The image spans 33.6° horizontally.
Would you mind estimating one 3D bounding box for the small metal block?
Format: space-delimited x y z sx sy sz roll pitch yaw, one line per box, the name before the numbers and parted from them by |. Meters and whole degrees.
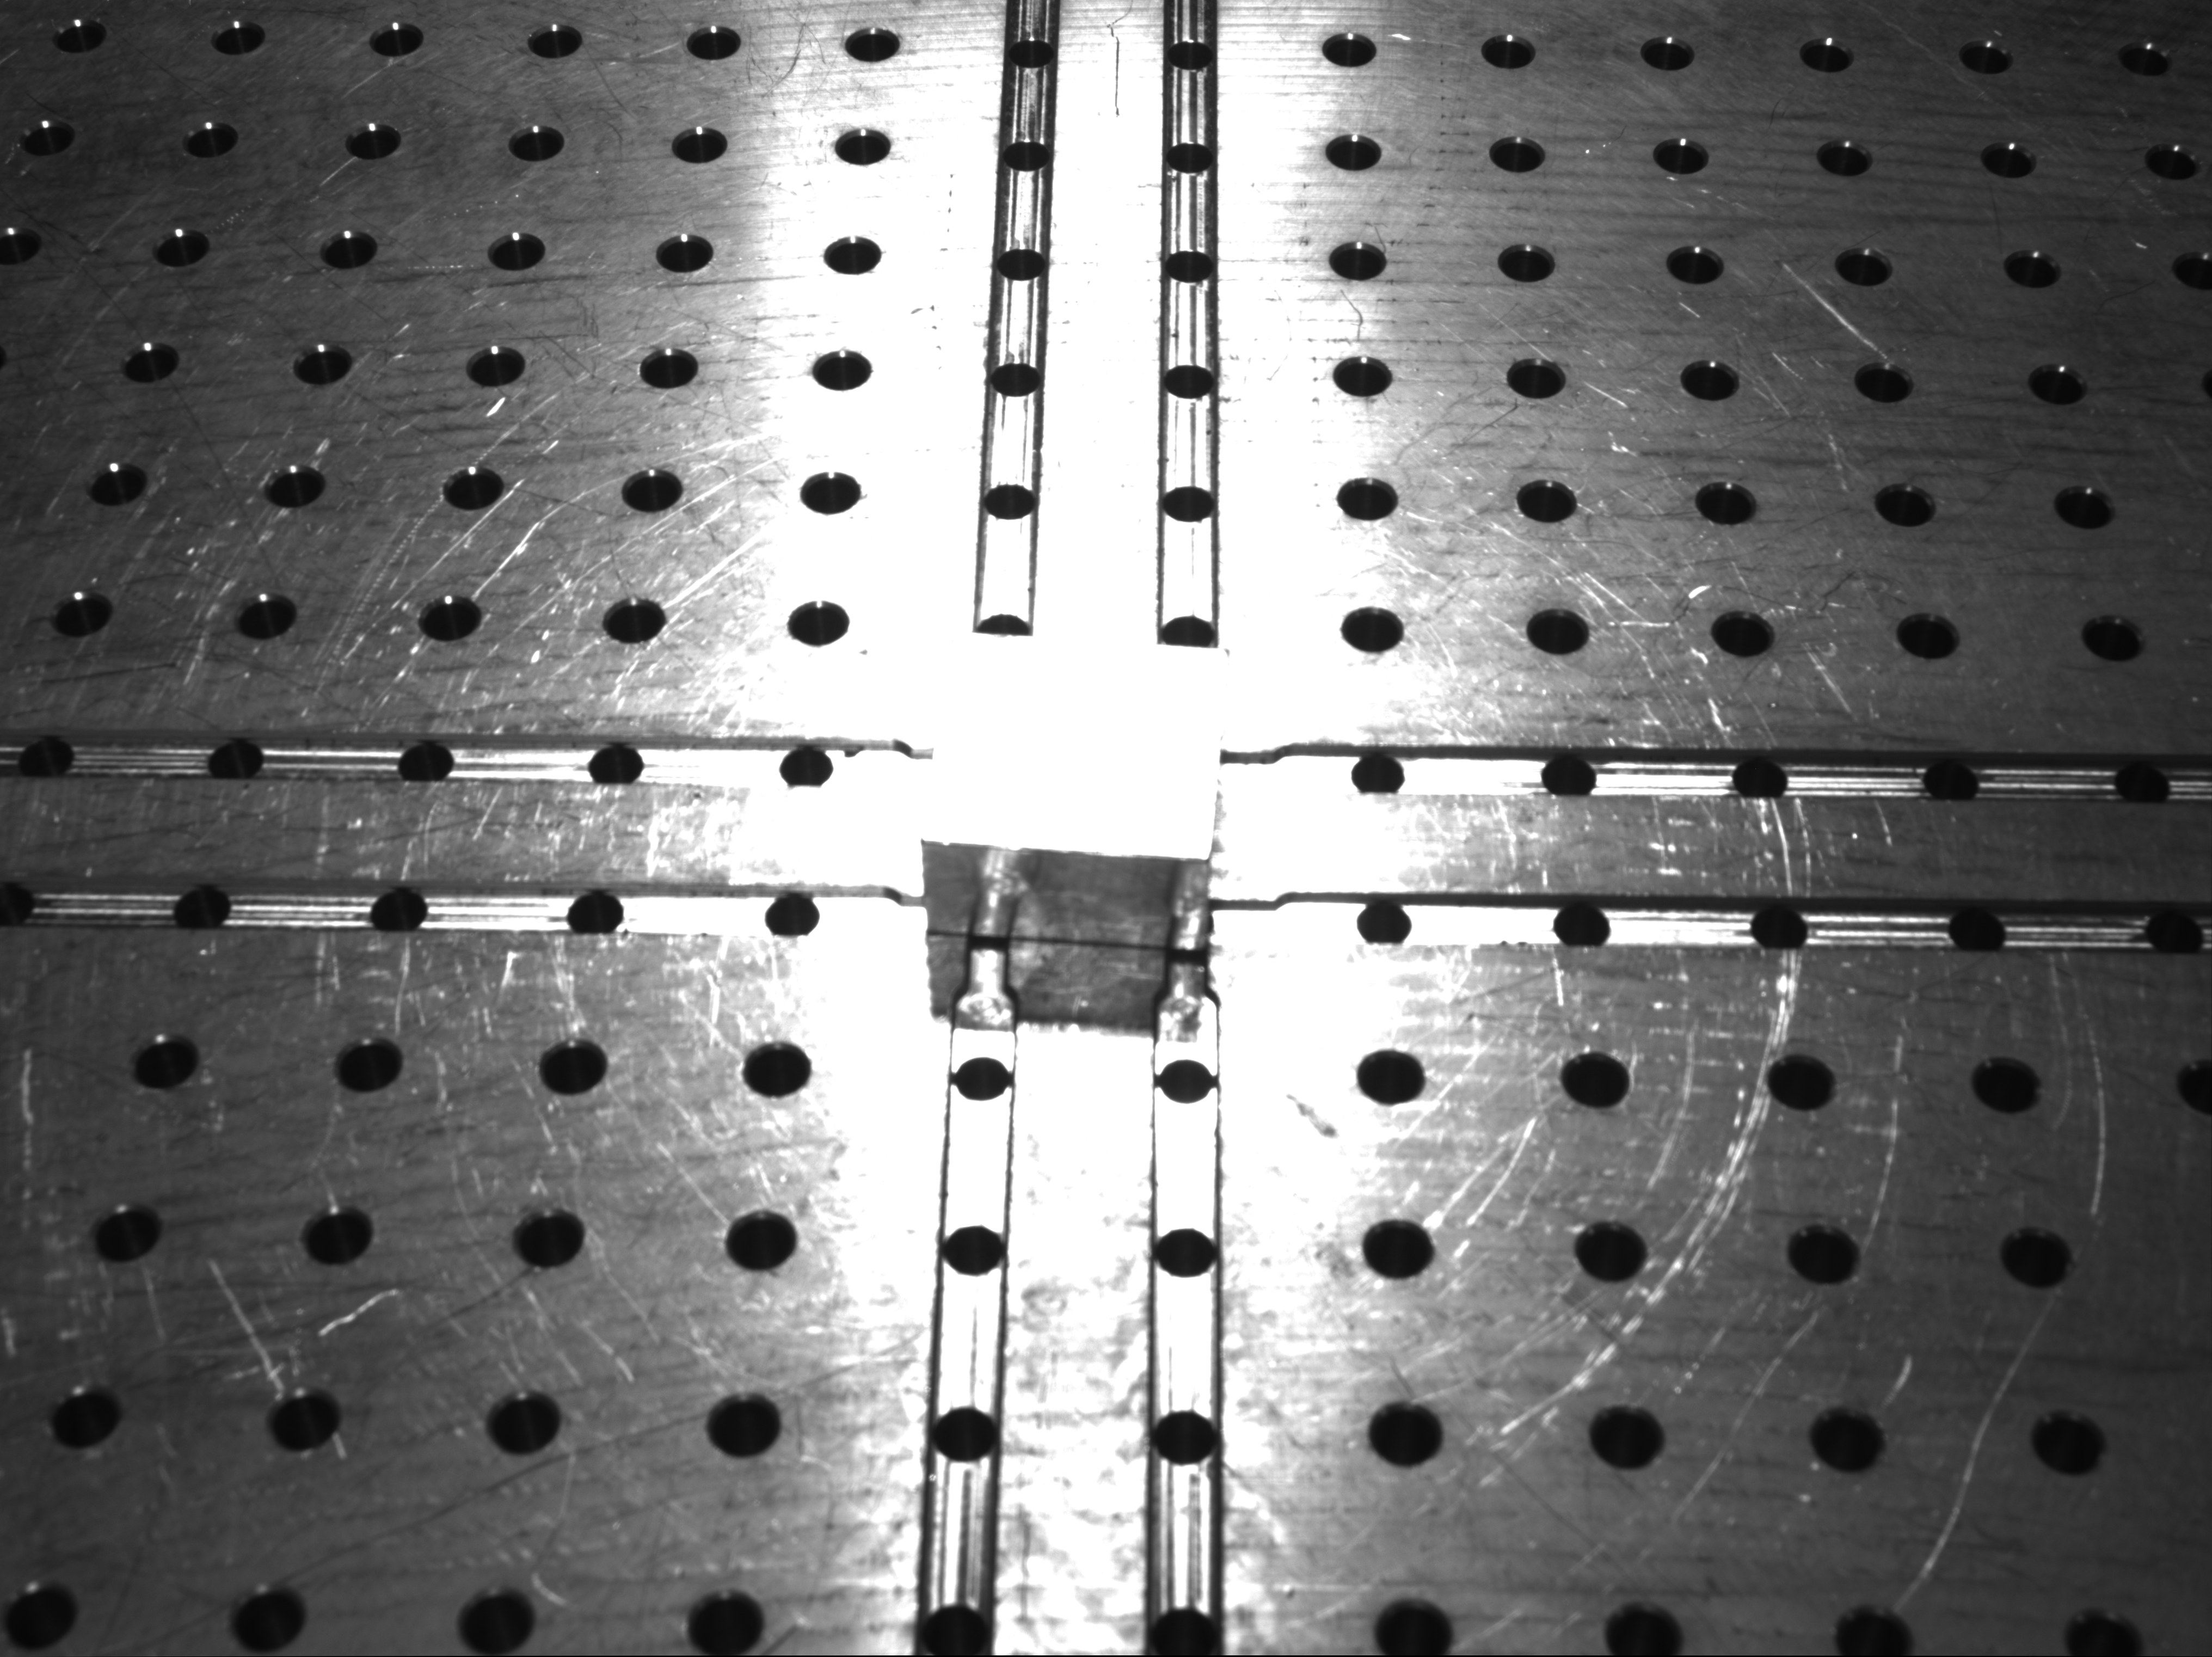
small metal block | -0.003 -0.007 0.651 0.050 0.025 0.050 4 50 3
